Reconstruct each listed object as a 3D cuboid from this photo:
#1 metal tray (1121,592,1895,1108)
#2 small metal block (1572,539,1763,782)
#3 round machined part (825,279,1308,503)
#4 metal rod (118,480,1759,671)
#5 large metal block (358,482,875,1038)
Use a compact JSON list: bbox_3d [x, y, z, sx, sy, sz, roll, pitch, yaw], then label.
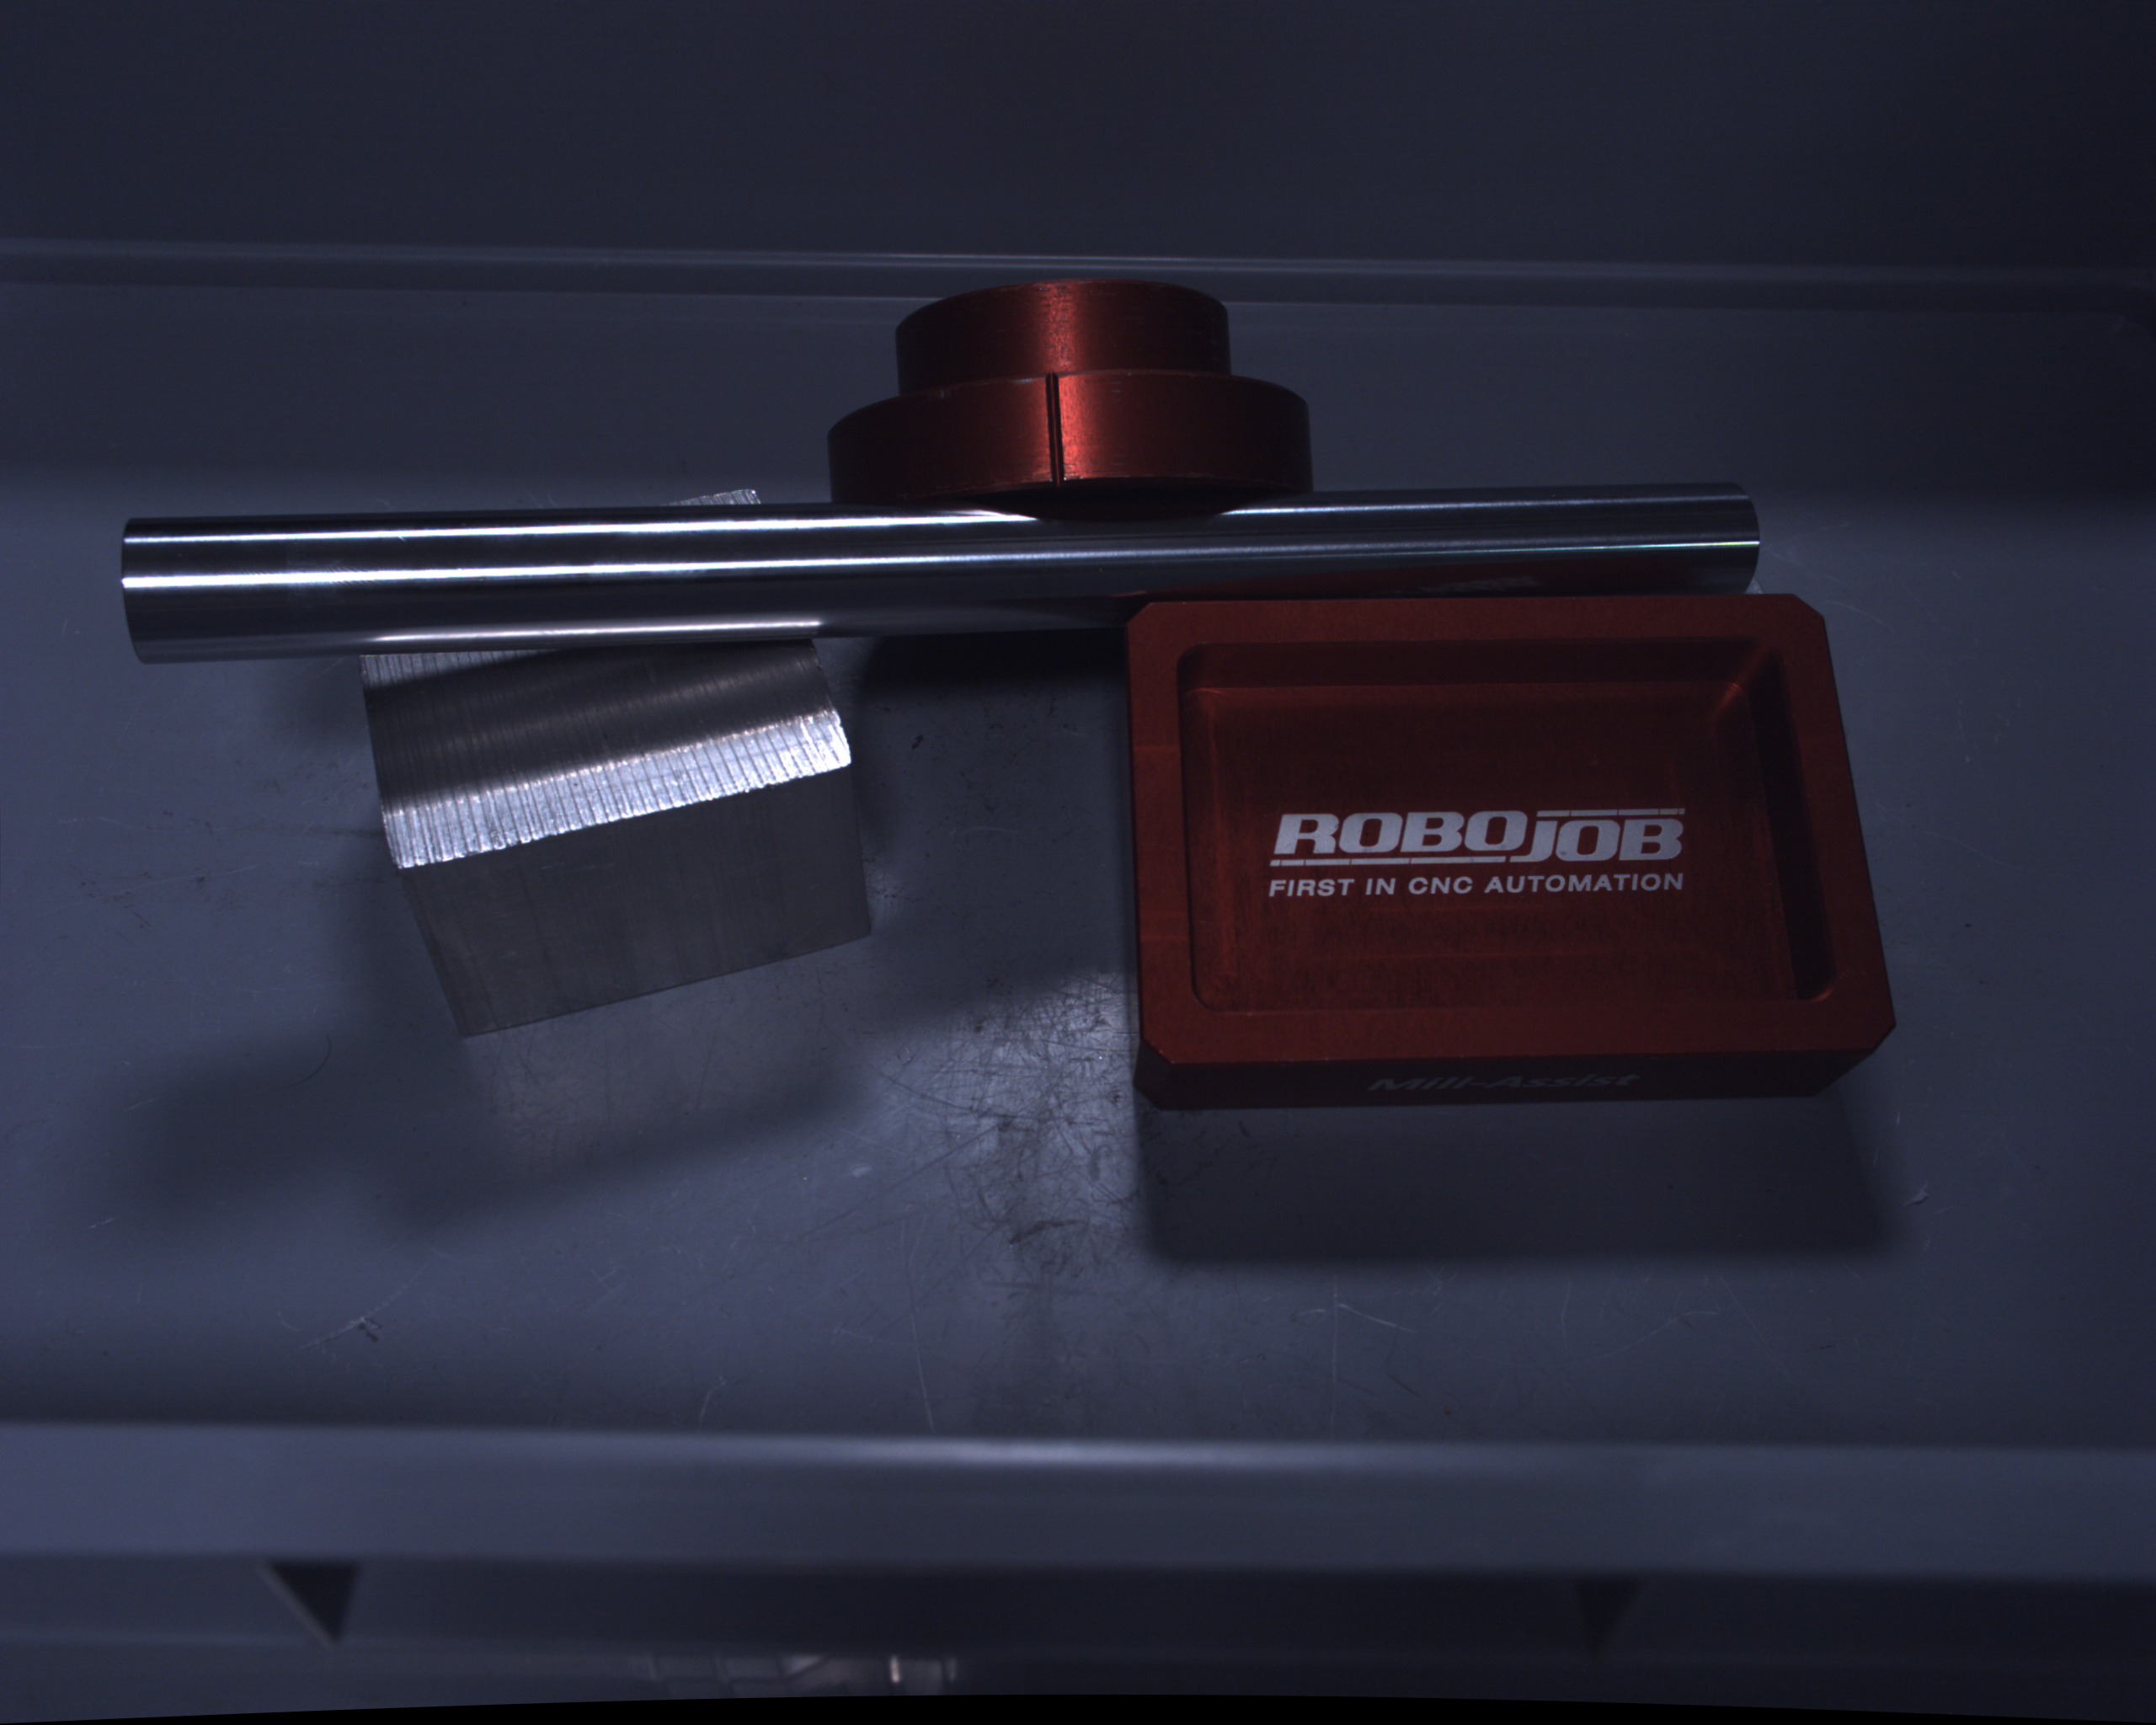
[{"bbox_3d":[0.074,-0.003,0.385,0.131,0.030,0.090,-1,69,-2],"label":"metal tray"},{"bbox_3d":[0.118,-0.045,0.442,0.050,0.025,0.050,-9,51,-8],"label":"small metal block"},{"bbox_3d":[-0.003,-0.090,0.429,0.099,0.098,0.042,-3,91,-3],"label":"round machined part"},{"bbox_3d":[-0.014,-0.056,0.391,0.302,0.025,0.025,-4,50,-13],"label":"metal rod"},{"bbox_3d":[-0.090,-0.022,0.403,0.081,0.050,0.080,-14,52,-12],"label":"large metal block"}]
